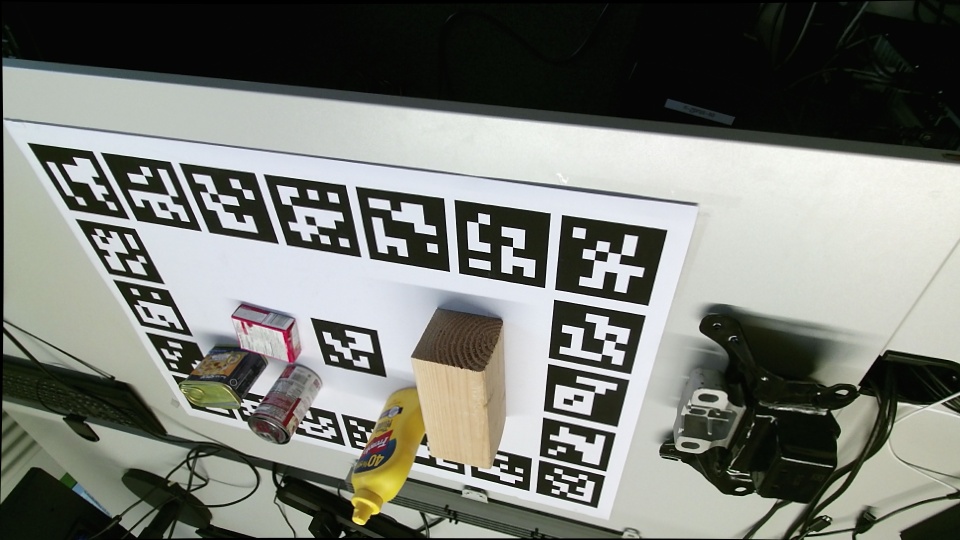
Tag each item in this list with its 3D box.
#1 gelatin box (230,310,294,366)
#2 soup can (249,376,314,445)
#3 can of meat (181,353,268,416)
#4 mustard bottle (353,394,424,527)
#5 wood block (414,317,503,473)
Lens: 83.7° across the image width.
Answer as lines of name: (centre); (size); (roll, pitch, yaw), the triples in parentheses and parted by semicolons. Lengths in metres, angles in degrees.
gelatin box: (-0.320, 0.104, 0.783); (0.089, 0.030, 0.073); (15, 129, 4)
soup can: (-0.309, 0.222, 0.822); (0.068, 0.102, 0.068); (9, 128, 12)
can of meat: (-0.399, 0.179, 0.843); (0.102, 0.083, 0.058); (-1, 126, 23)
mustard bottle: (-0.129, 0.265, 0.752); (0.096, 0.191, 0.058); (-13, 123, 29)
wood block: (-0.024, 0.170, 0.699); (0.091, 0.089, 0.206); (11, 134, 13)
